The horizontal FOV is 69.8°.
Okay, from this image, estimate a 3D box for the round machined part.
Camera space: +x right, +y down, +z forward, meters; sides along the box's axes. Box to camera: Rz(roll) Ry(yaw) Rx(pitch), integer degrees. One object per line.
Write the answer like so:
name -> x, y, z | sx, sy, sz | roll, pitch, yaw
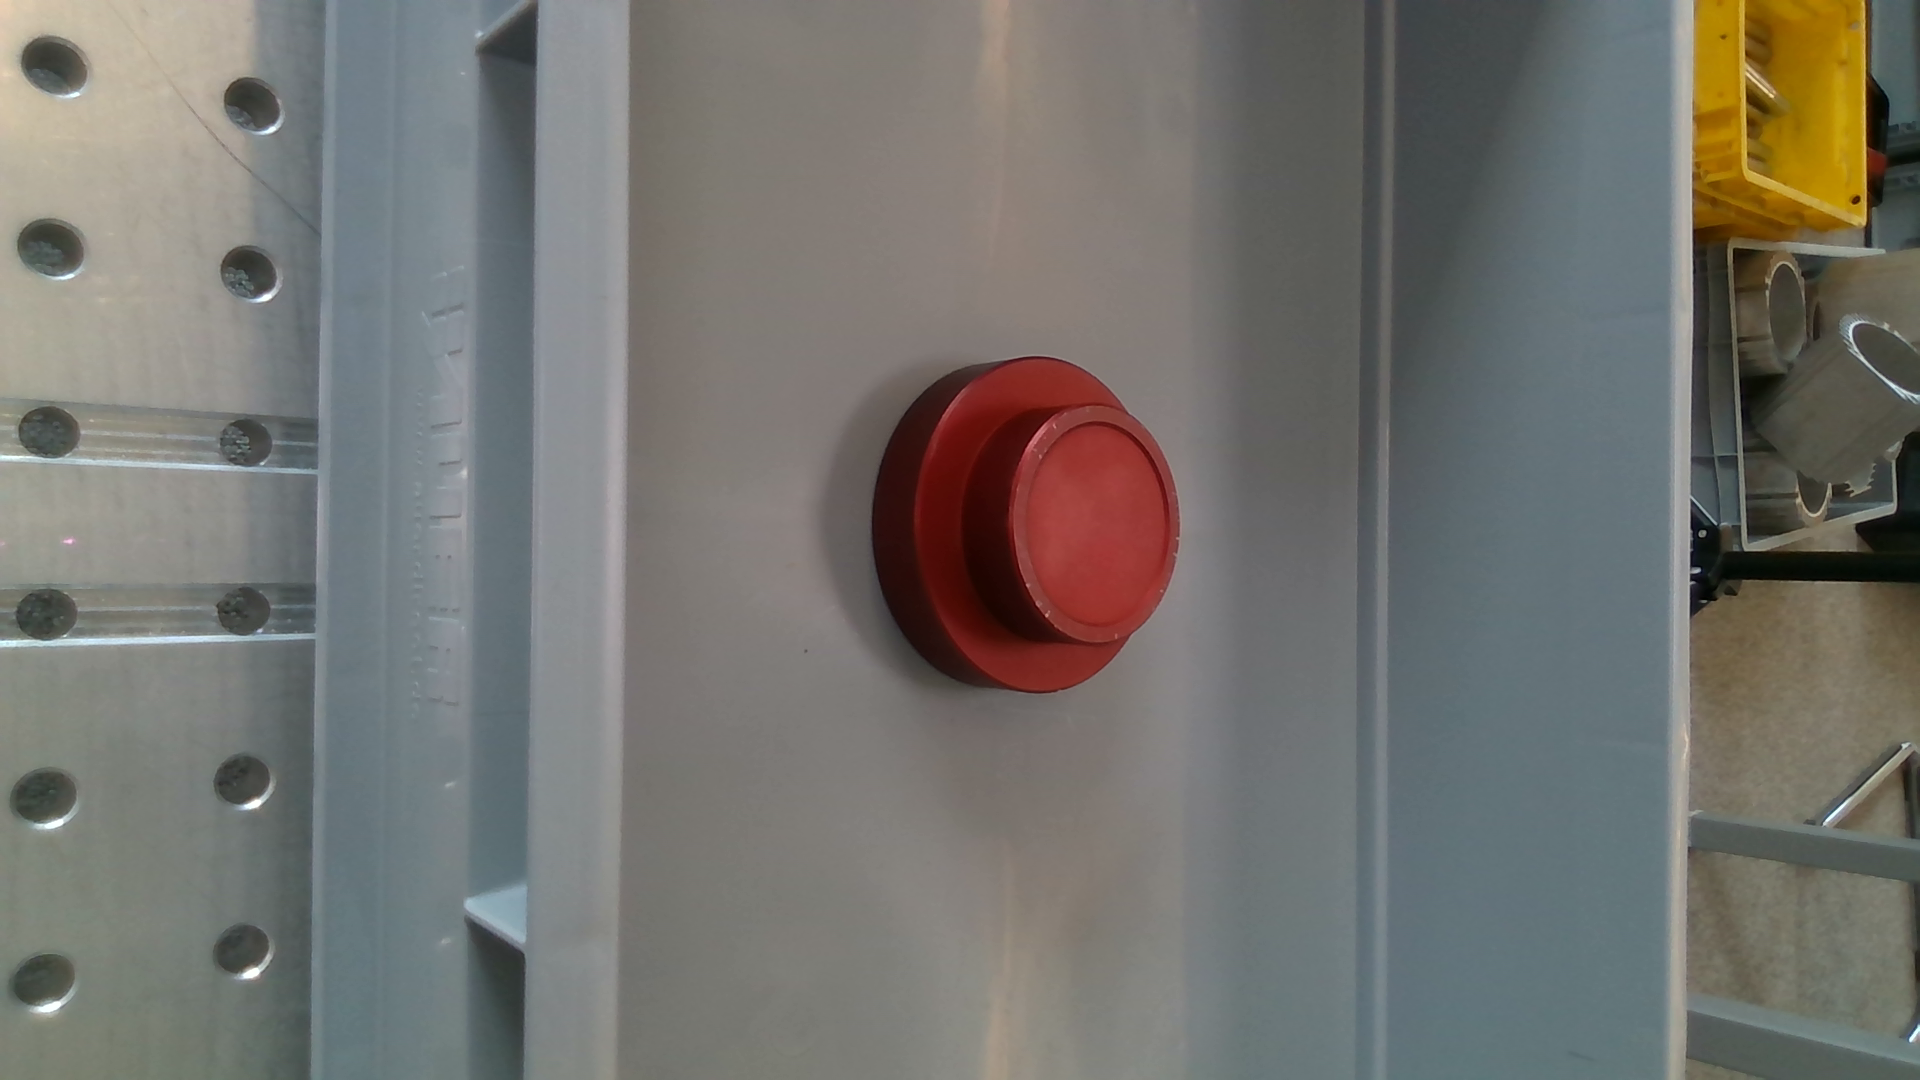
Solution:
round machined part -> 0.026, -0.004, 0.398 | 0.098, 0.042, 0.098 | 0, 90, -40
